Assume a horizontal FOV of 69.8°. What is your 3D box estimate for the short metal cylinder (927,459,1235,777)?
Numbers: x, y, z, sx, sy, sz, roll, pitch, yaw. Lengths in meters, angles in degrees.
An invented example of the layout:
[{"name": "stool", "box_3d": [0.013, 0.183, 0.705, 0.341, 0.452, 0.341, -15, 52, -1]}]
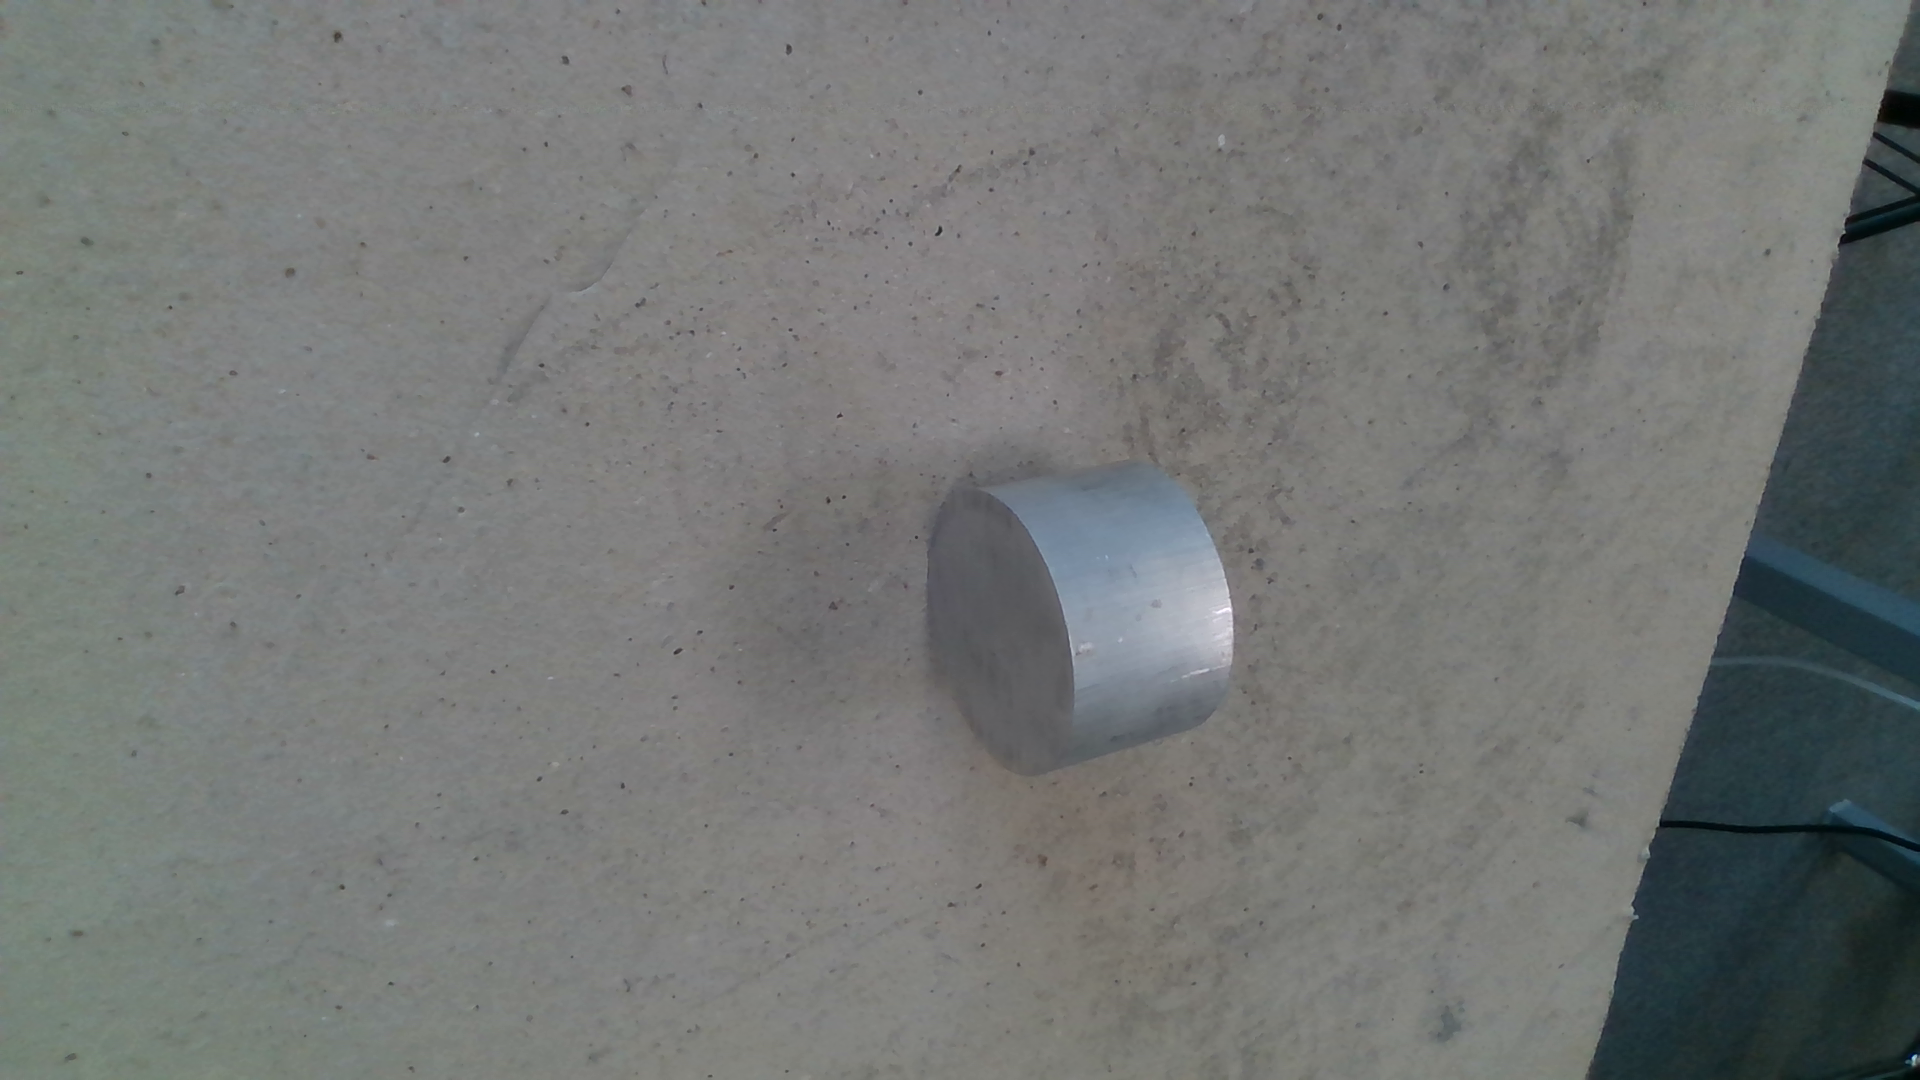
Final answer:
[{"name": "short metal cylinder", "box_3d": [0.031, 0.020, 0.384, 0.050, 0.080, 0.080, -13, 121, -26]}]
